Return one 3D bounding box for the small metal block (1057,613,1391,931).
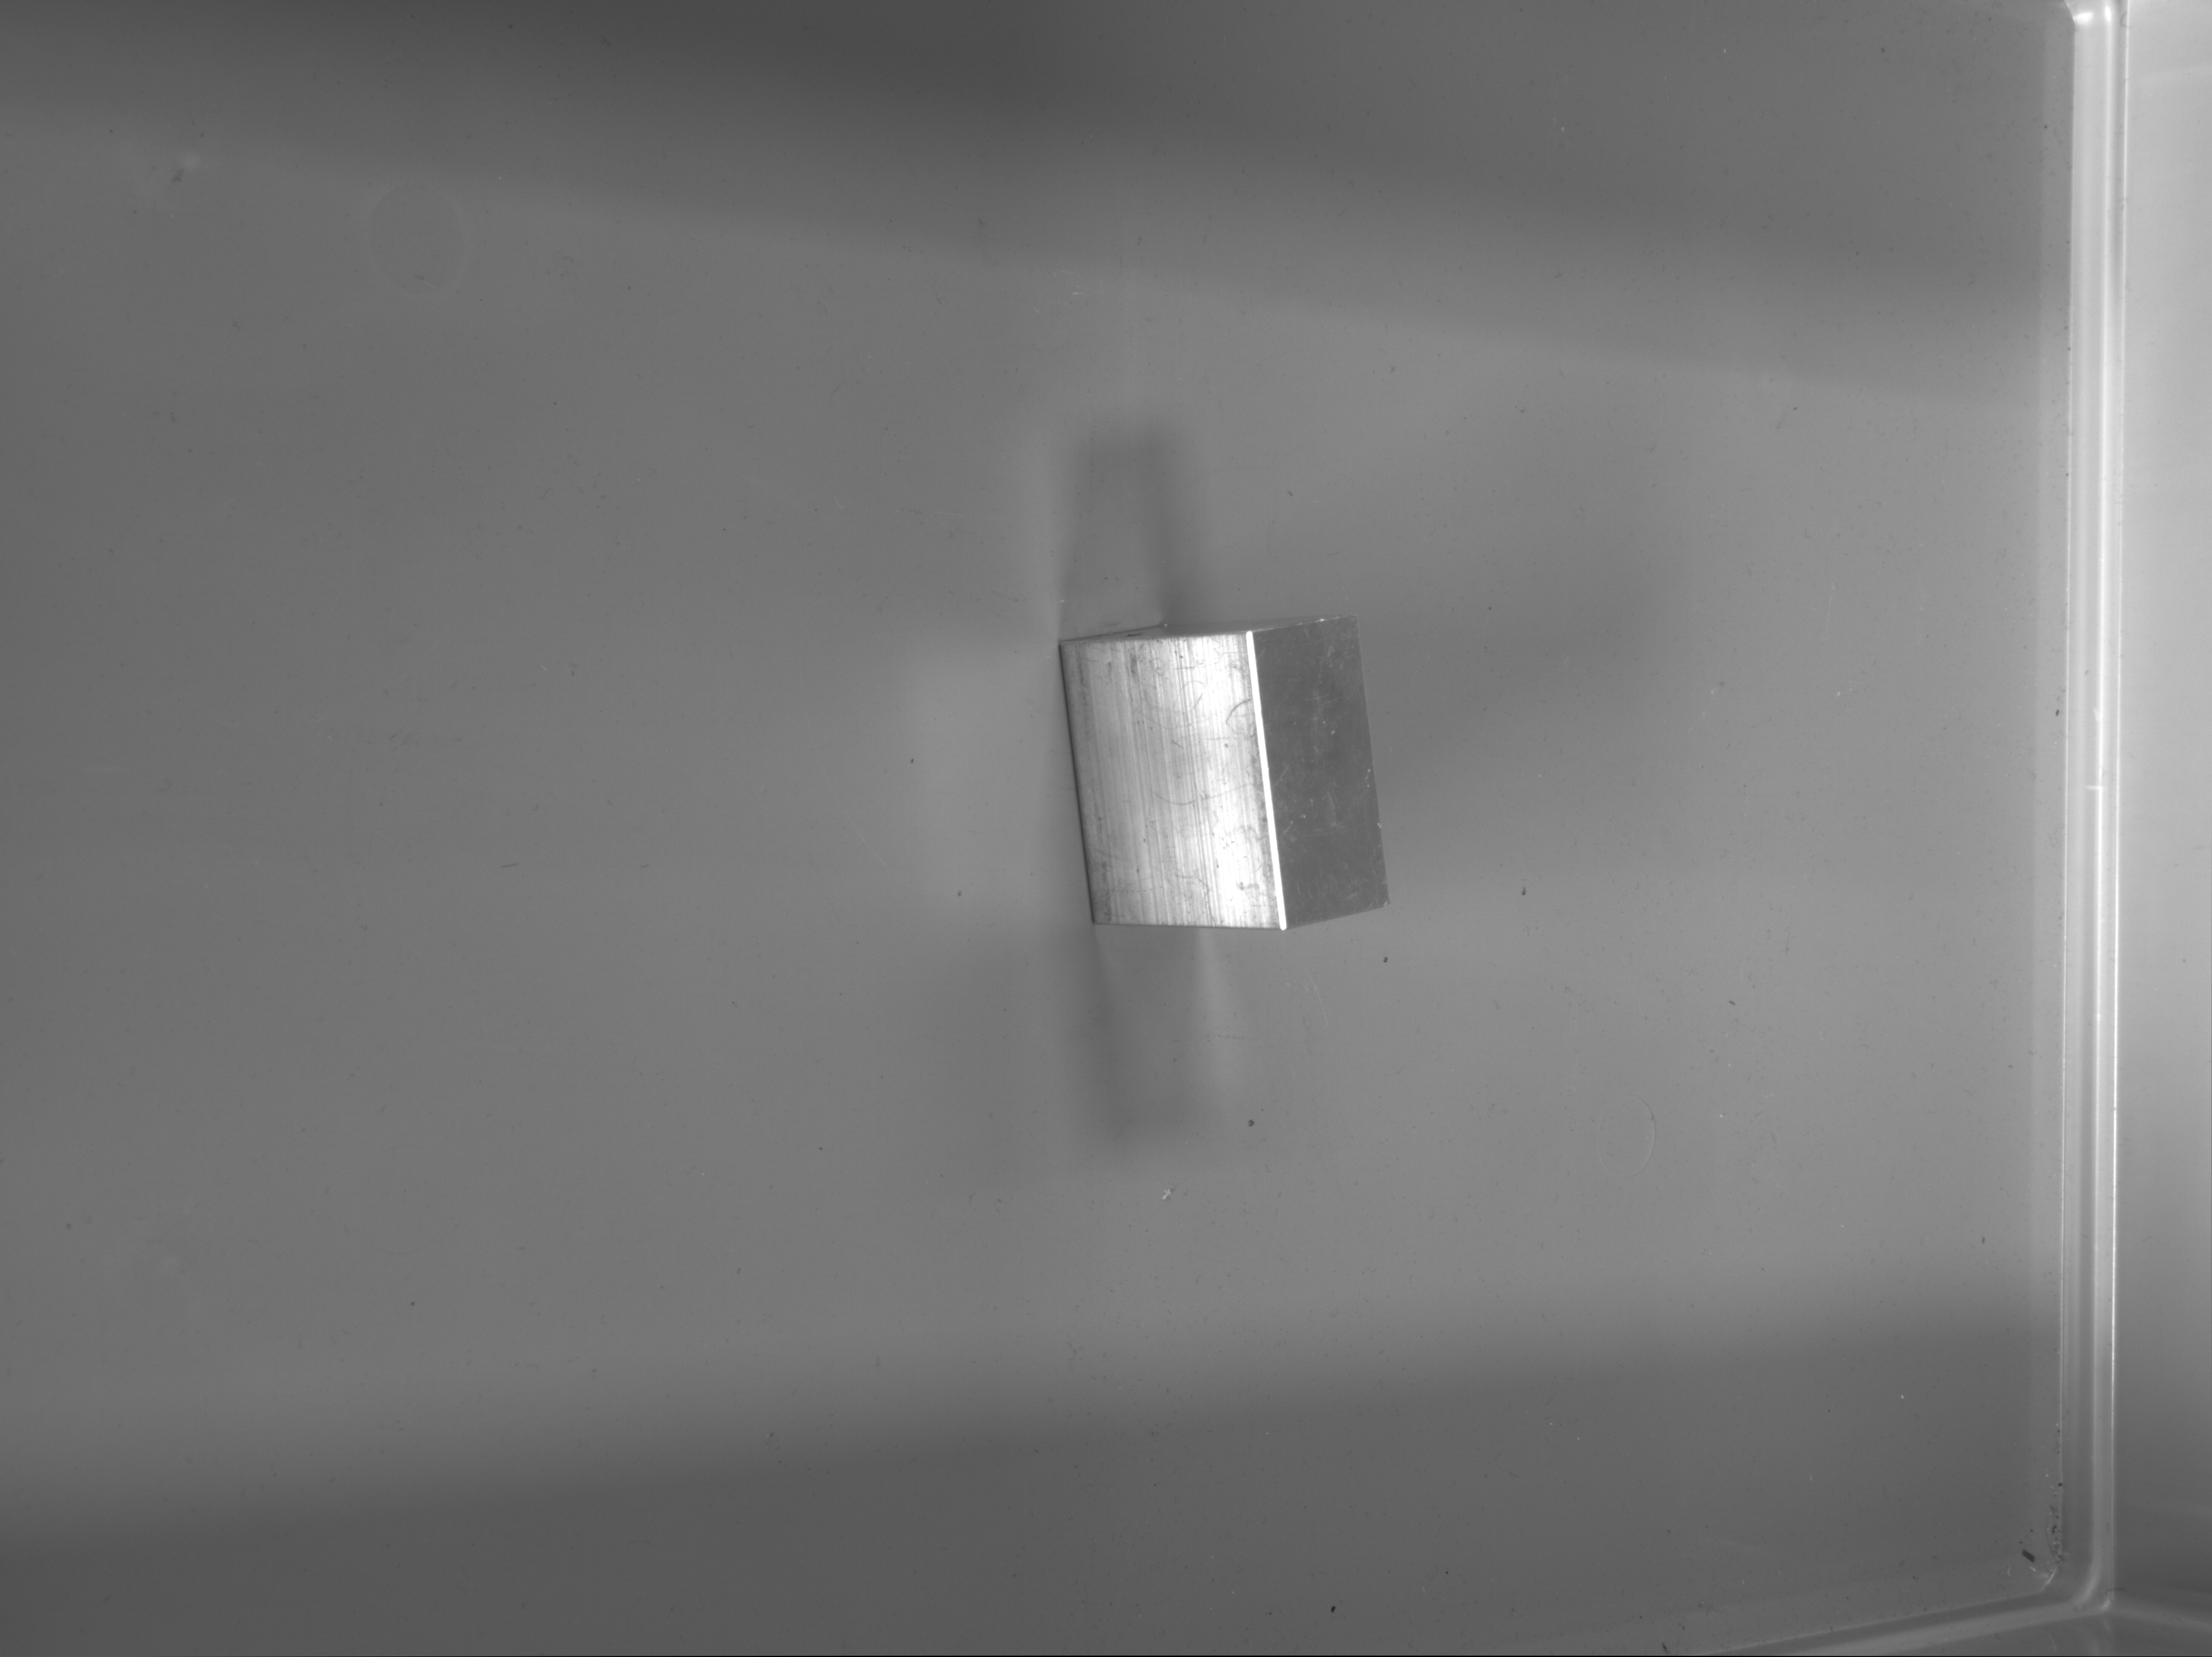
[{"bbox_3d":[0.020,-0.009,0.633,0.025,0.050,0.050,-11,96,-39],"label":"small metal block"}]
